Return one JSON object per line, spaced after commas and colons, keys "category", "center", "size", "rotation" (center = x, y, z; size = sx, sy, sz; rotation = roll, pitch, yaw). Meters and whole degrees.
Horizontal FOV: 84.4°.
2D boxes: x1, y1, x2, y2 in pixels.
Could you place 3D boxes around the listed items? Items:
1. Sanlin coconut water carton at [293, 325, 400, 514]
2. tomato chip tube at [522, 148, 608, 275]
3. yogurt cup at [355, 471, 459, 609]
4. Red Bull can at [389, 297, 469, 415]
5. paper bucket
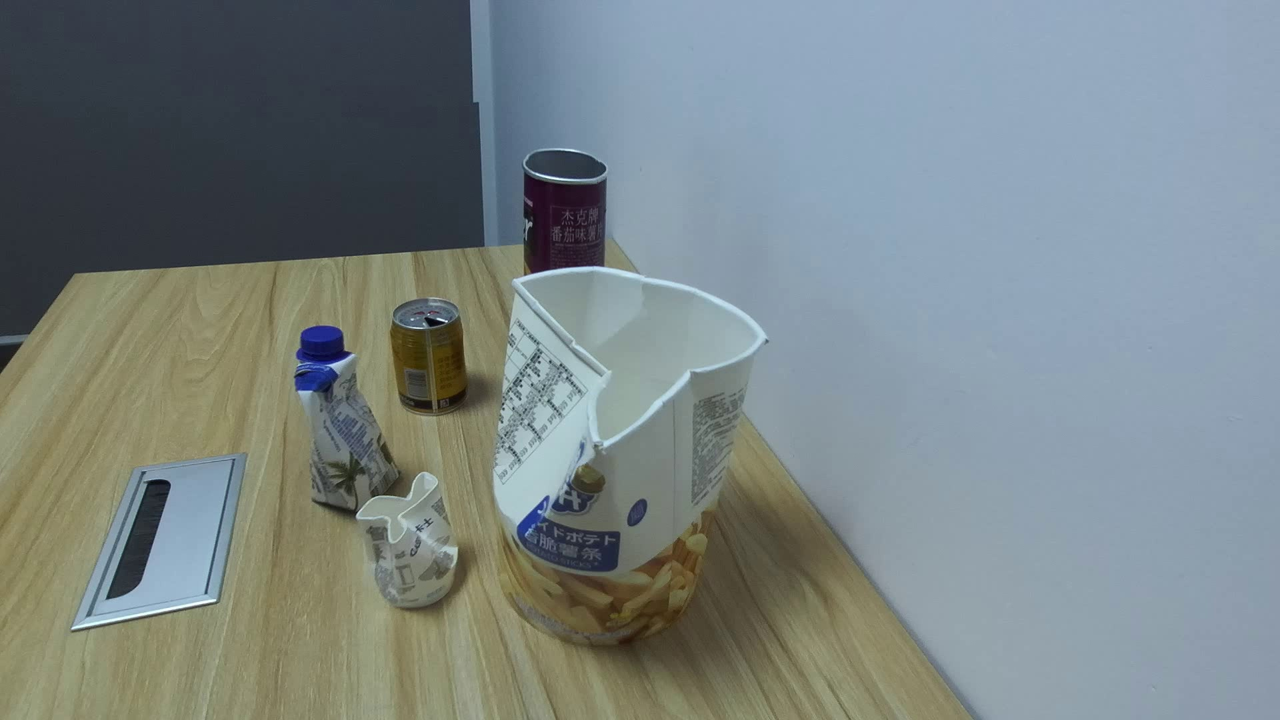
{"category": "Sanlin coconut water carton", "center": [-0.235, 0.048, 0.531], "size": [0.056, 0.145, 0.068], "rotation": [4, 38, 14]}
{"category": "tomato chip tube", "center": [-0.067, -0.053, 0.629], "size": [0.076, 0.234, 0.080], "rotation": [10, 27, 12]}
{"category": "yogurt cup", "center": [-0.157, 0.124, 0.483], "size": [0.055, 0.072, 0.055], "rotation": [26, 38, 33]}
{"category": "Red Bull can", "center": [-0.199, -0.003, 0.671], "size": [0.068, 0.093, 0.068], "rotation": [2, 29, -1]}
{"category": "paper bucket", "center": [-0.029, 0.063, 0.479], "size": [0.162, 0.202, 0.170], "rotation": [26, 36, 32]}
